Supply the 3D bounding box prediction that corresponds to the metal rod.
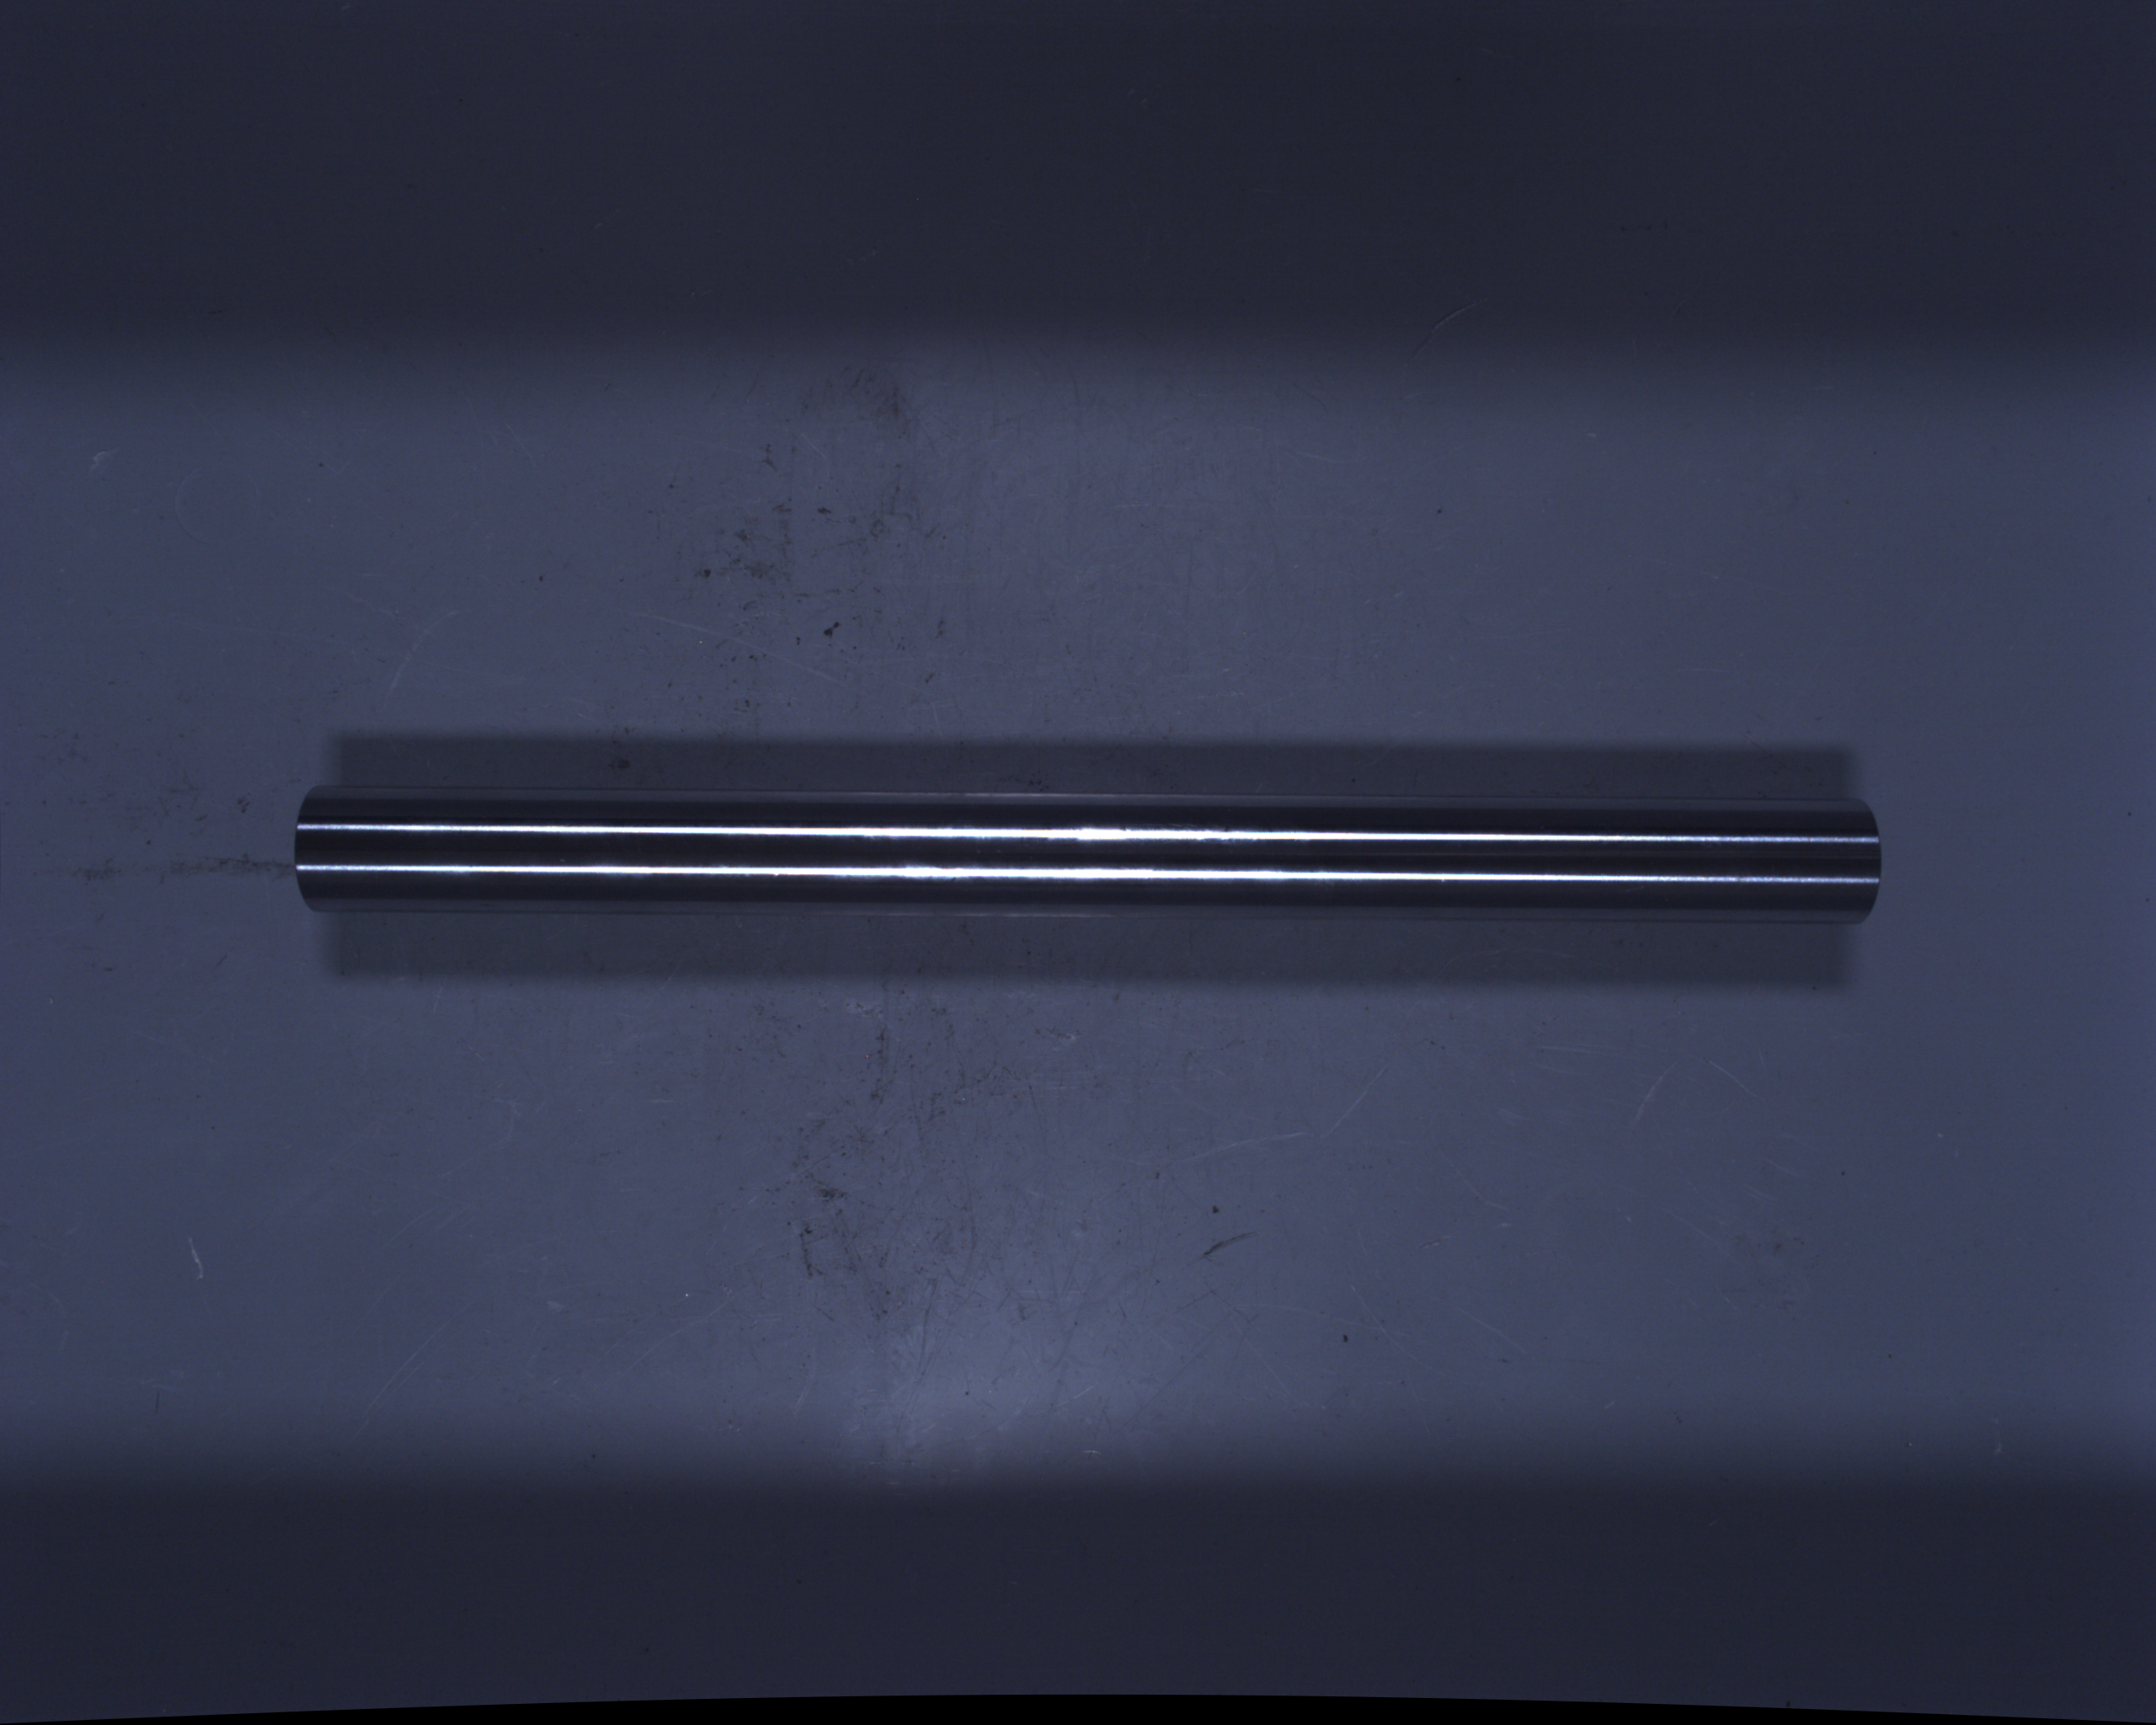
[{"bbox_3d":[0.003,-0.001,0.409,0.302,0.025,0.025,0,90,-1],"label":"metal rod"}]
